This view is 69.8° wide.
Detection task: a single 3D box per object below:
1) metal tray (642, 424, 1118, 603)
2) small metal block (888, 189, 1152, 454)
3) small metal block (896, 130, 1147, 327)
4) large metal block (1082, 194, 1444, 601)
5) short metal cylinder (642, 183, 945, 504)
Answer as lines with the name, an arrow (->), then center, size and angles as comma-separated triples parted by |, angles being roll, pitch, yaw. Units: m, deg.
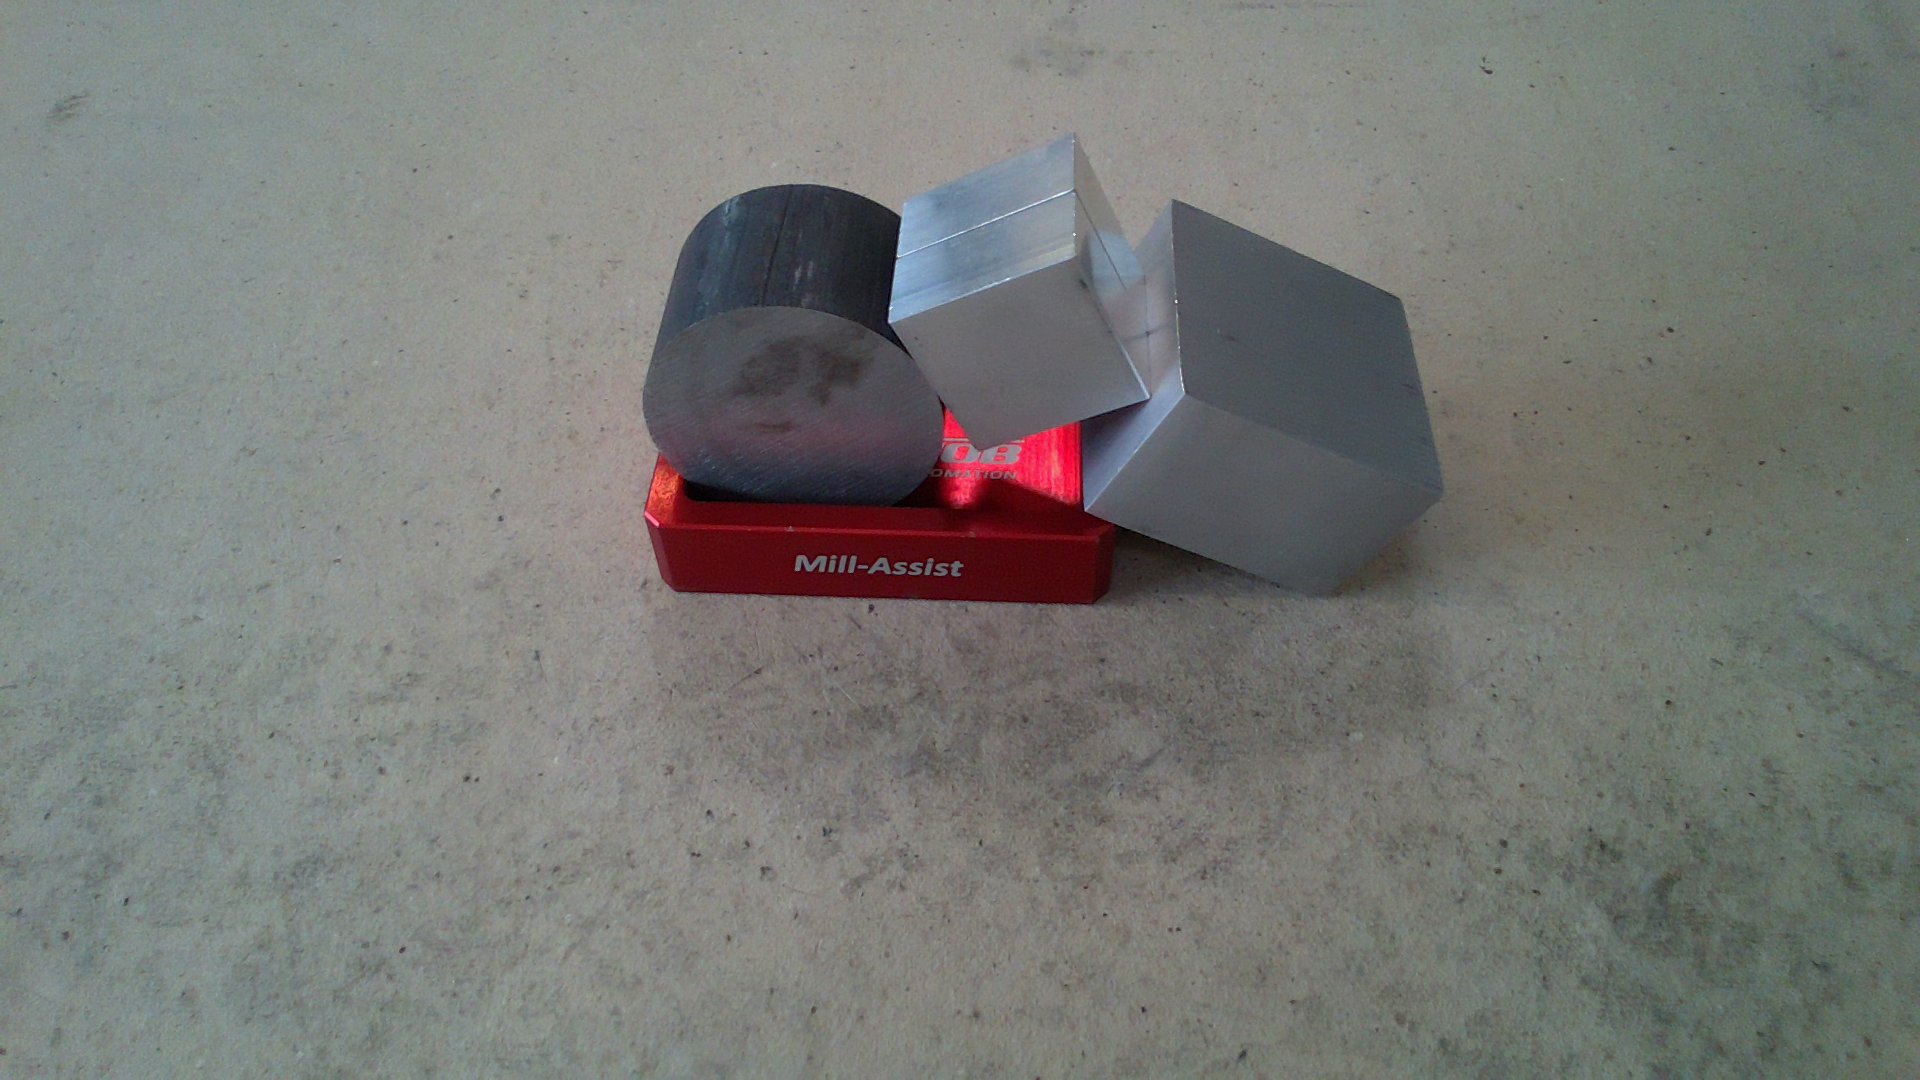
metal tray -> -0.020, -0.027, 0.411 | 0.130, 0.030, 0.090 | 2, 50, 1
small metal block -> 0.016, -0.054, 0.352 | 0.050, 0.050, 0.025 | -16, 45, 21
small metal block -> 0.018, -0.074, 0.369 | 0.050, 0.050, 0.025 | -16, 45, 21
large metal block -> 0.082, -0.040, 0.390 | 0.080, 0.050, 0.080 | 20, 48, -18
short metal cylinder -> -0.043, -0.050, 0.381 | 0.080, 0.080, 0.050 | 1, 50, 1
